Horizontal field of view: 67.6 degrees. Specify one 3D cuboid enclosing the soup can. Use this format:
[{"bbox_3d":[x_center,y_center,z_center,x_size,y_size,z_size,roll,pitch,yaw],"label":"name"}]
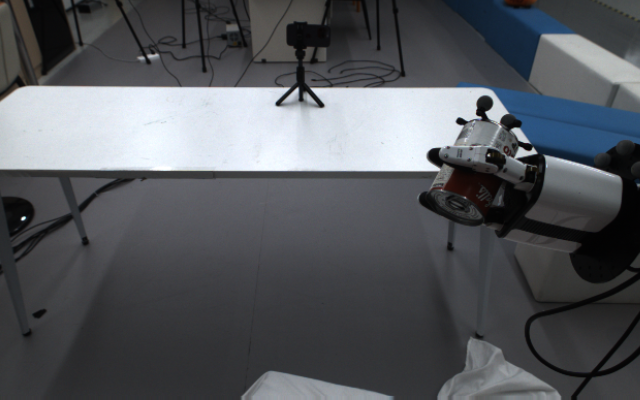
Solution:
[{"bbox_3d":[0.173,-0.031,0.540,0.067,0.067,0.101,22,71,26],"label":"soup can"}]
